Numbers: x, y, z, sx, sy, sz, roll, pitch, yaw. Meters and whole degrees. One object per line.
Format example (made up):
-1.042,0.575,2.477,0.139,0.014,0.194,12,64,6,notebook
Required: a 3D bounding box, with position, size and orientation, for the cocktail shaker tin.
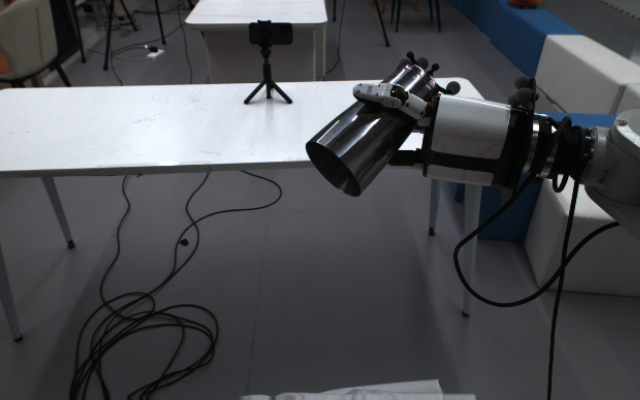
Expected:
0.074,-0.099,0.617,0.170,0.093,0.093,-43,50,-15,cocktail shaker tin
